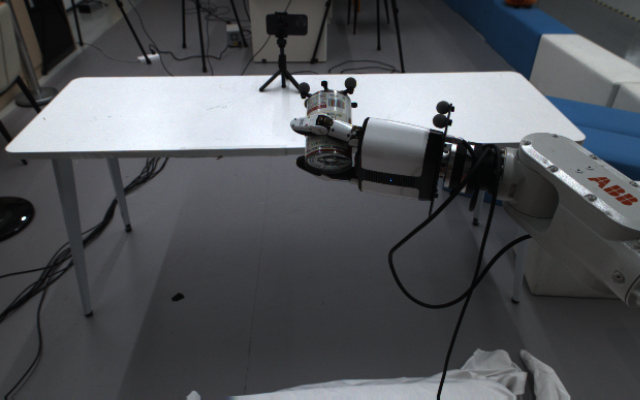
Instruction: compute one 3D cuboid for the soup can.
[{"bbox_3d":[0.013,-0.097,0.689,0.067,0.067,0.101,1,68,-1],"label":"soup can"}]
